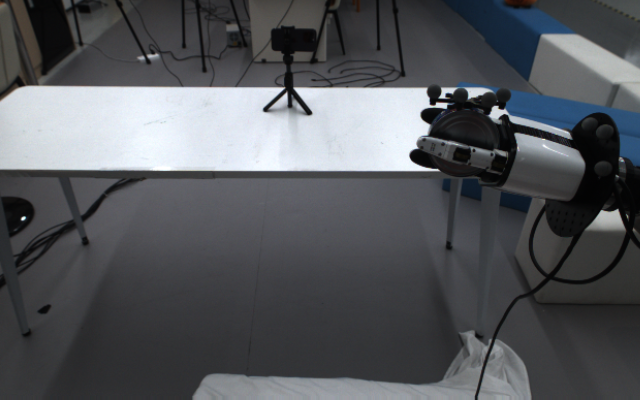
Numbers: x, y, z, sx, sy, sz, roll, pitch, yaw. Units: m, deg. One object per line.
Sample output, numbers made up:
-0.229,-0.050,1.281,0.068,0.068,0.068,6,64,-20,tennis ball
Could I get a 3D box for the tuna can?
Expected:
0.178,-0.076,0.605,0.085,0.085,0.034,9,24,10,tuna can
